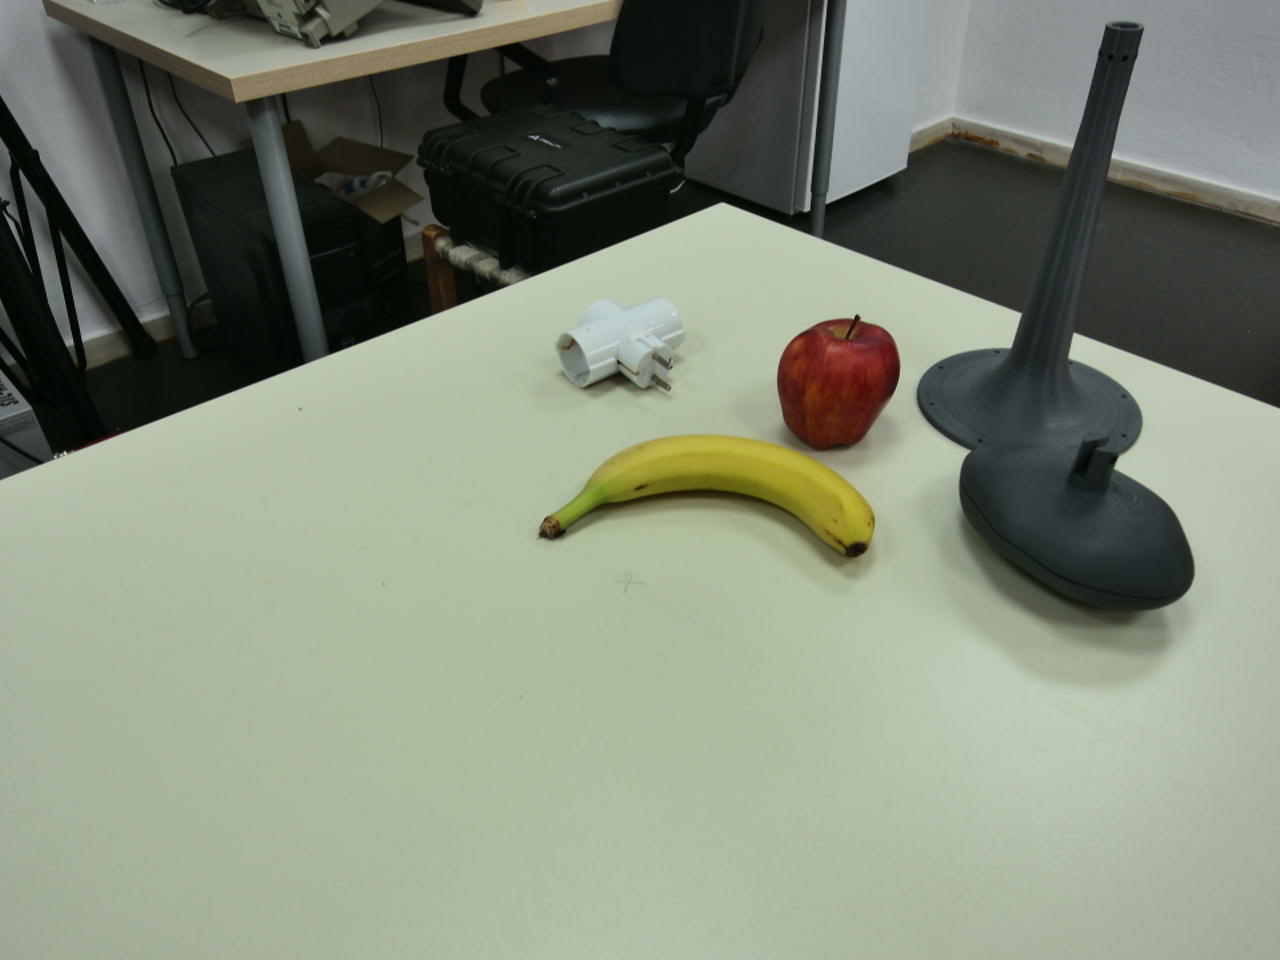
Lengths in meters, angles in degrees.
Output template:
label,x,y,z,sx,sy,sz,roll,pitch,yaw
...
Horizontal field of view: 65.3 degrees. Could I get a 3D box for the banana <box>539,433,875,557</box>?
label,x,y,z,sx,sy,sz,roll,pitch,yaw
banana,0.042,0.006,0.616,0.196,0.041,0.094,8,37,11
